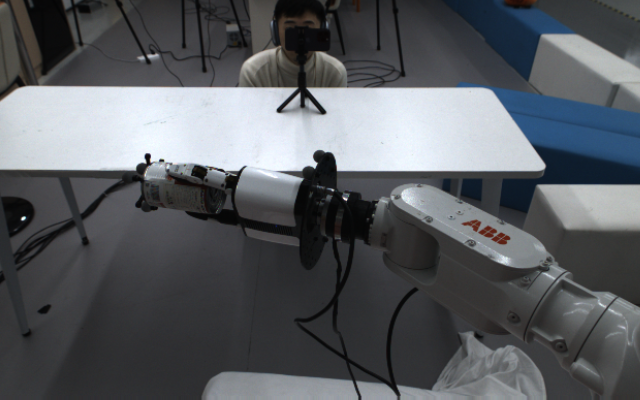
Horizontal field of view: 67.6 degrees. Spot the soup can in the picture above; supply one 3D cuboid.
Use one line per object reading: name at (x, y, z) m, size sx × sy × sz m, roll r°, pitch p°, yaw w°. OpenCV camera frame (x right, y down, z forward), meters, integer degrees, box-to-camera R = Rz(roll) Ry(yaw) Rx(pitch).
soup can at (-0.191, -0.016, 0.692) m, size 0.101 × 0.067 × 0.067 m, roll 7°, pitch 35°, yaw 10°
